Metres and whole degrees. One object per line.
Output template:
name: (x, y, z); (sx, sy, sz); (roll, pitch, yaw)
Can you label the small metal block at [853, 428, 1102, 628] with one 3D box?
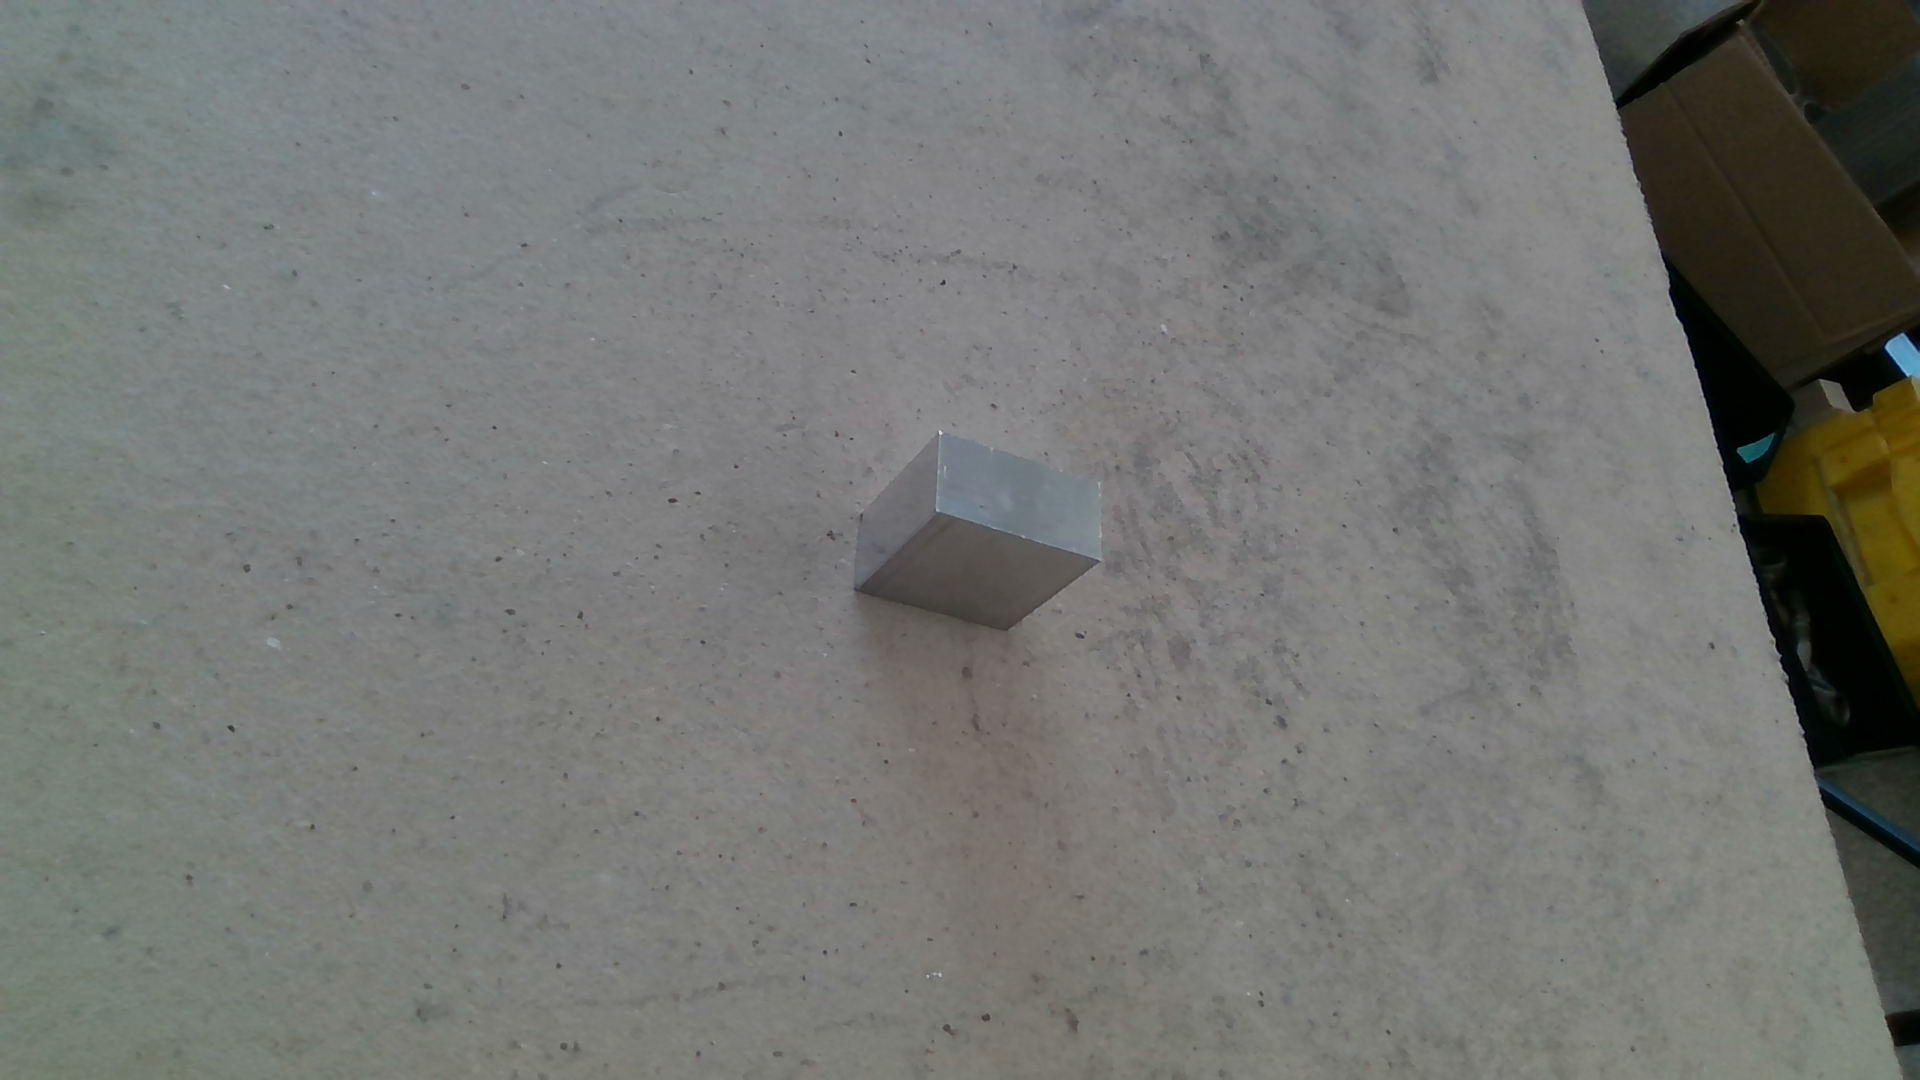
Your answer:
small metal block: (0.004, -0.002, 0.381); (0.050, 0.050, 0.025); (16, 59, -24)
